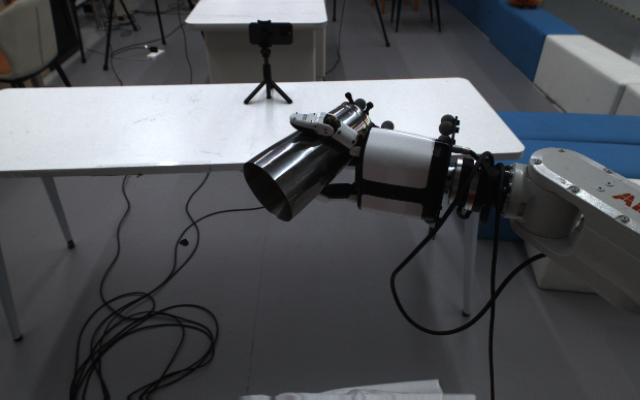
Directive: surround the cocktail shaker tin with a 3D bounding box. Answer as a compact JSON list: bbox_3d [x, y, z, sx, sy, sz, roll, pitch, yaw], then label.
[{"bbox_3d":[-0.007,-0.063,0.644,0.170,0.093,0.093,-38,50,-24],"label":"cocktail shaker tin"}]
